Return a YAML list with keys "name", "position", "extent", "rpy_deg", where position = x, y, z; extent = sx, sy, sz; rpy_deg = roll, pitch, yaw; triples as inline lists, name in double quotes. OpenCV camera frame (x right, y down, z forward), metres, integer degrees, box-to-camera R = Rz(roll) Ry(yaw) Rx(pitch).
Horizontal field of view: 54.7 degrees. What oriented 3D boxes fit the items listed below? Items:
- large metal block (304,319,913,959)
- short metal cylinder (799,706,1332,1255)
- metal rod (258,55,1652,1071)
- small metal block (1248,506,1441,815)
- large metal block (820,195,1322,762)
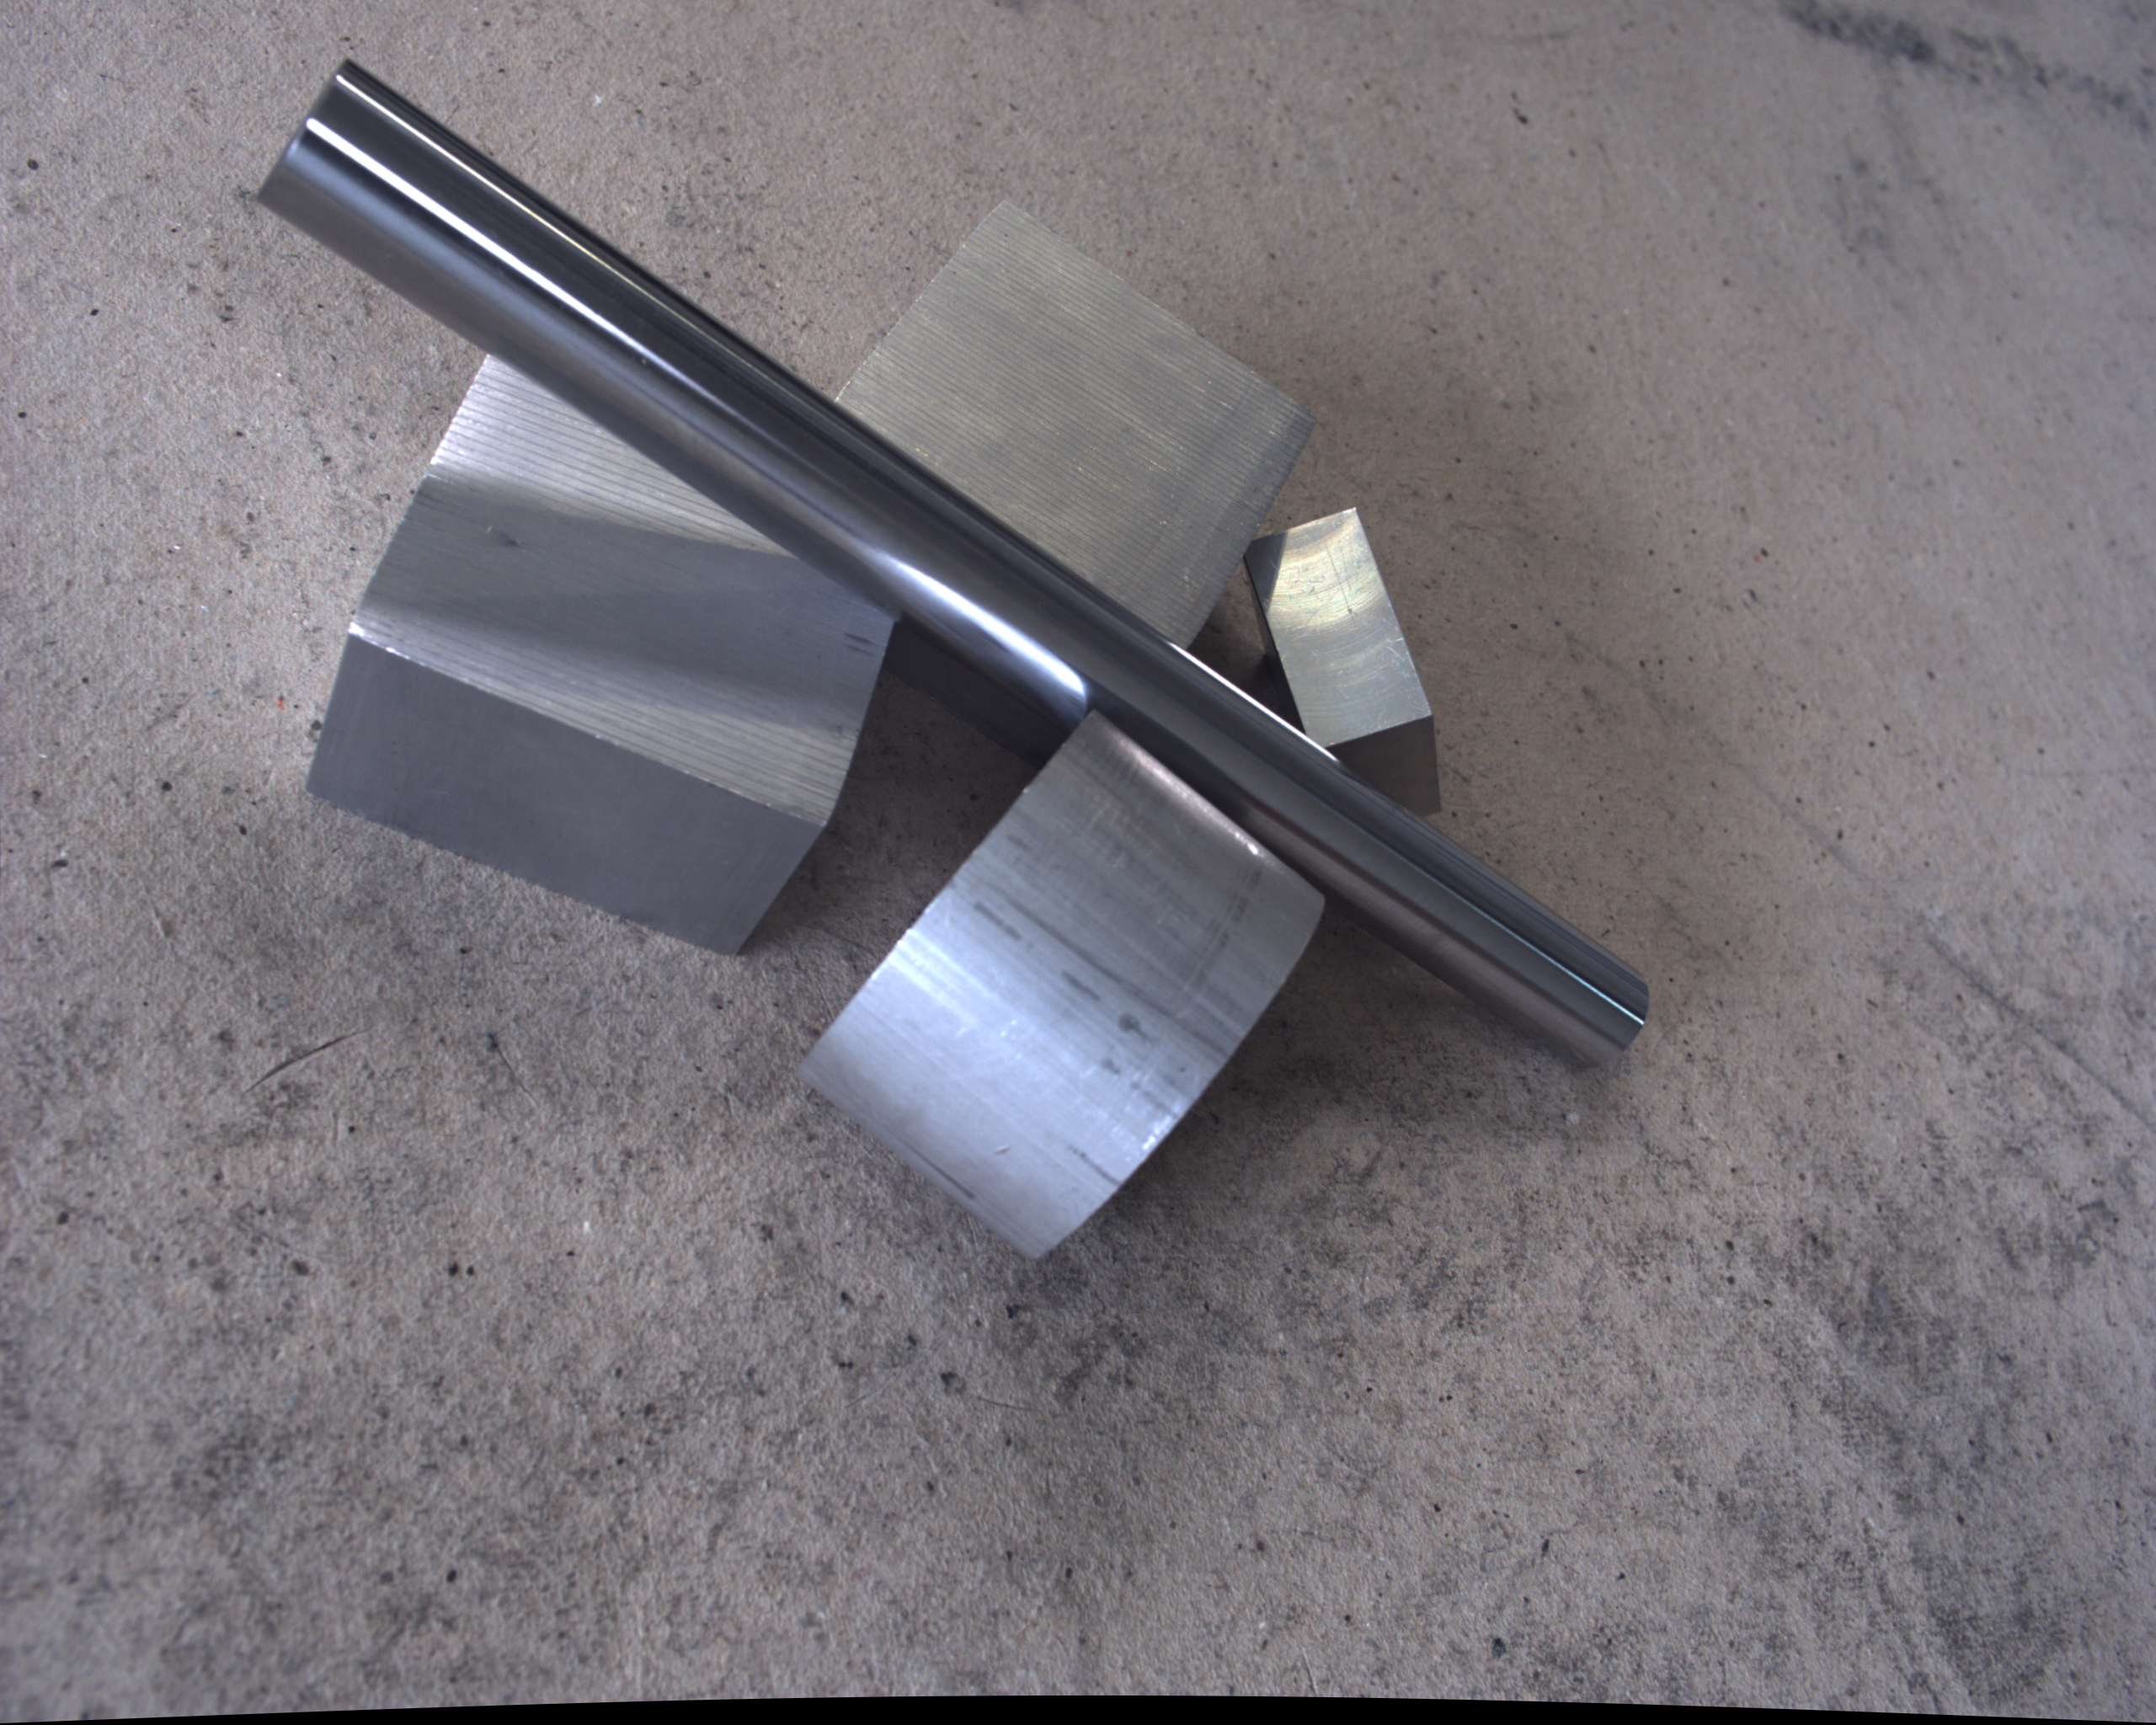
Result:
- name: "large metal block"
  position: [-0.079, -0.041, 0.371]
  extent: [0.080, 0.050, 0.080]
  rpy_deg: [23, 53, -15]
- name: "short metal cylinder"
  position: [-0.002, 0.020, 0.356]
  extent: [0.050, 0.080, 0.080]
  rpy_deg: [40, 51, -2]
- name: "metal rod"
  position: [0.000, -0.037, 0.375]
  extent: [0.301, 0.025, 0.025]
  rpy_deg: [32, 50, -28]
- name: "small metal block"
  position: [0.056, -0.038, 0.440]
  extent: [0.025, 0.050, 0.050]
  rpy_deg: [-17, 67, 4]
- name: "large metal block"
  position: [-0.008, -0.076, 0.428]
  extent: [0.080, 0.050, 0.080]
  rpy_deg: [34, 51, -6]
